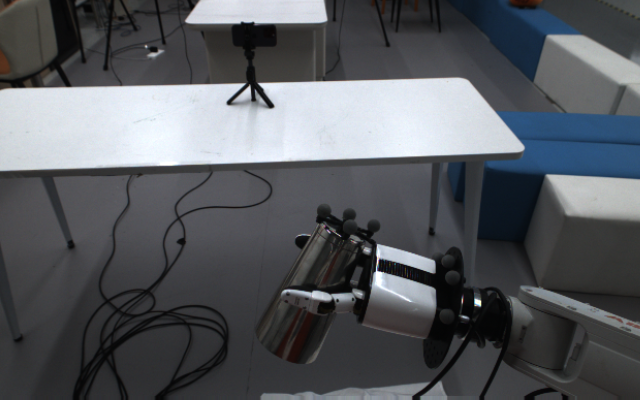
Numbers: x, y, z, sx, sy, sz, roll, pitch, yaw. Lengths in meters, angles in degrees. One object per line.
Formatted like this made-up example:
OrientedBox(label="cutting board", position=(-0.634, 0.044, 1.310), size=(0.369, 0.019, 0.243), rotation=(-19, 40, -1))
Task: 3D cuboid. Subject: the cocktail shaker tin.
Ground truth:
OrientedBox(label="cocktail shaker tin", position=(-0.005, 0.112, 0.628), size=(0.093, 0.170, 0.093), rotation=(24, 12, -6))
